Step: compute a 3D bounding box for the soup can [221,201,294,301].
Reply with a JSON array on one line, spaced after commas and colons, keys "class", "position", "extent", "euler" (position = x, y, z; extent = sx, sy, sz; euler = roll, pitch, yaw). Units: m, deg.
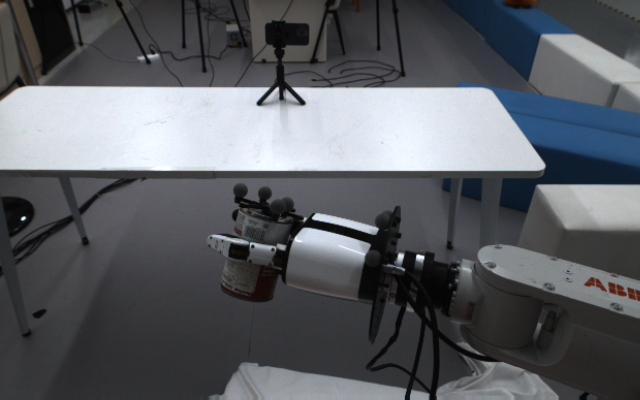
[{"class": "soup can", "position": [-0.074, 0.063, 0.583], "extent": [0.067, 0.101, 0.067], "euler": [15, 7, -2]}]
